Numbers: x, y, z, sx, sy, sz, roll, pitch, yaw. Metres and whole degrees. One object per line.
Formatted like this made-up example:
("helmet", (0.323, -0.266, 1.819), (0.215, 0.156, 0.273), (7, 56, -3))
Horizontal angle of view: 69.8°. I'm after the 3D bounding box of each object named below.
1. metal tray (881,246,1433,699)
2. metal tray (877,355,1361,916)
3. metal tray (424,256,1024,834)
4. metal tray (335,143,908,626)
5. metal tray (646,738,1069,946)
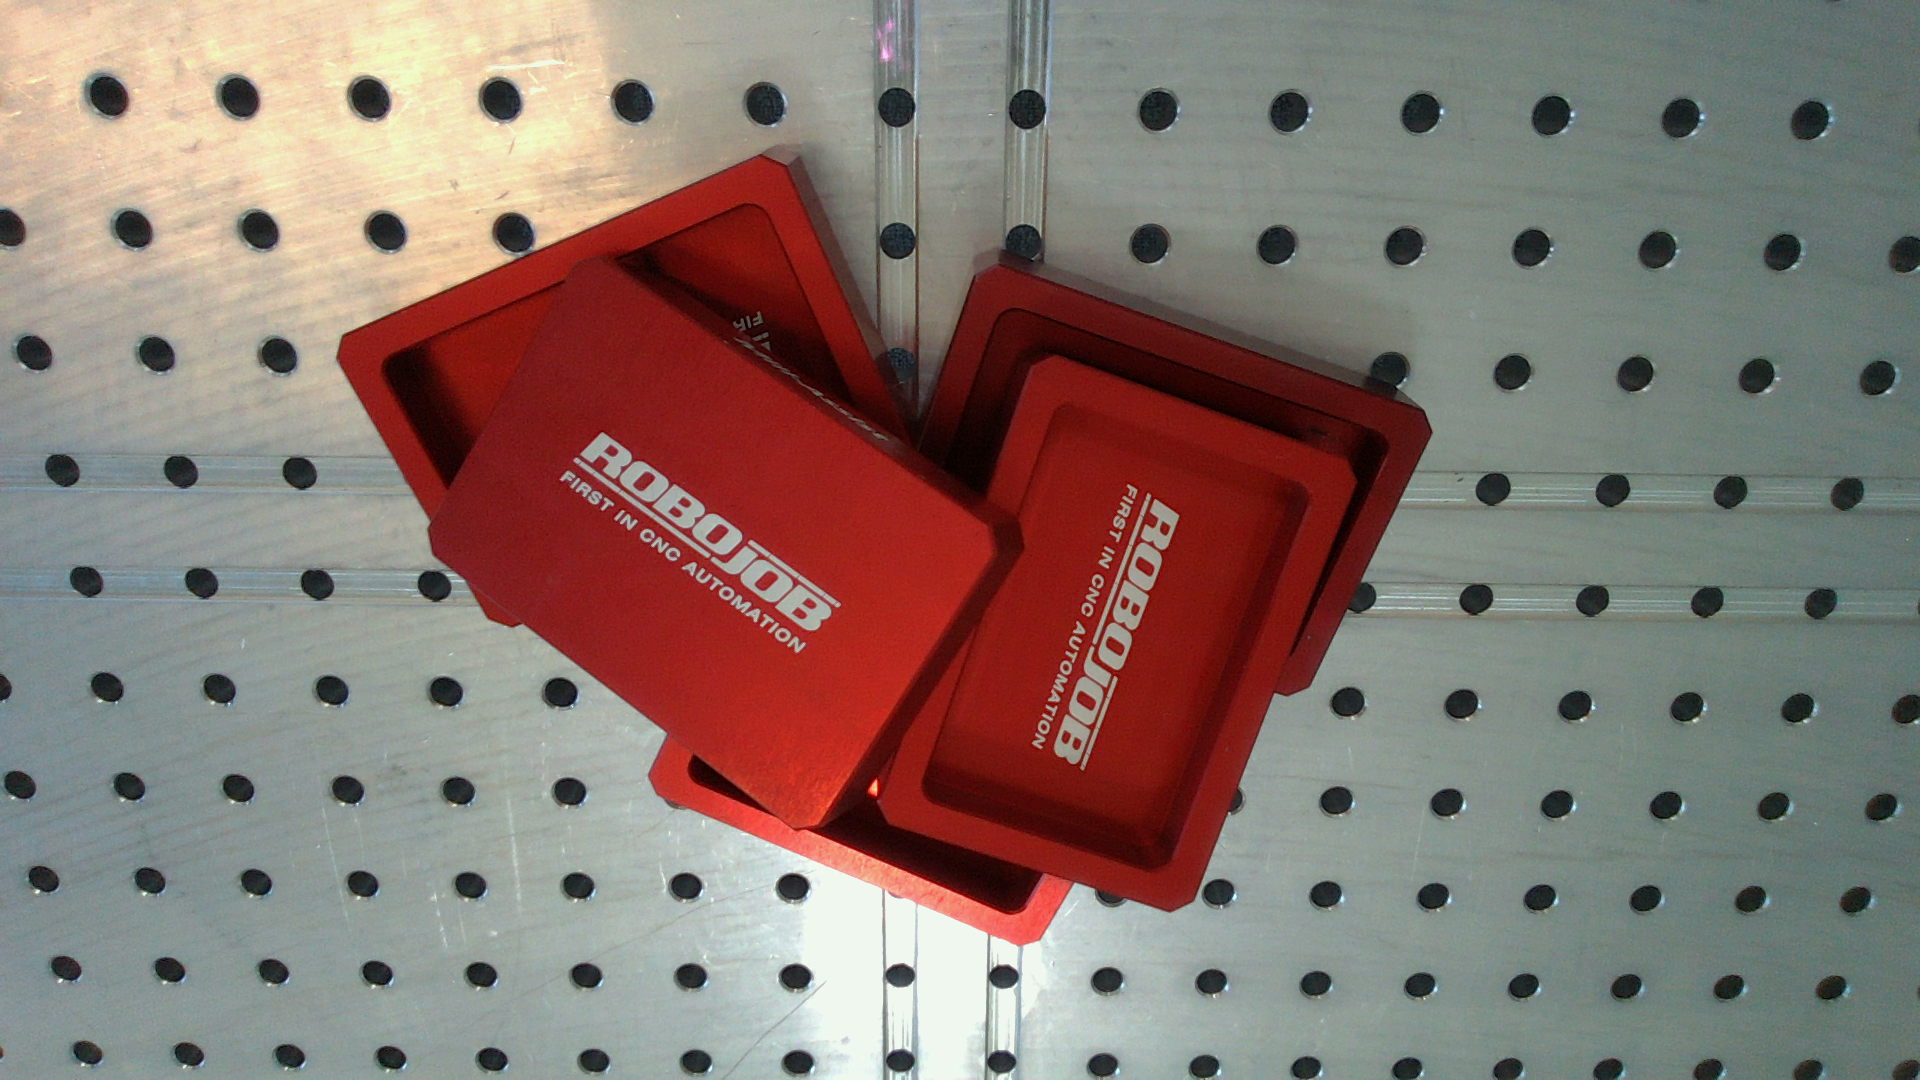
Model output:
("metal tray", (0.052, -0.018, 0.386), (0.130, 0.030, 0.090), (18, 109, -6))
("metal tray", (0.040, 0.025, 0.370), (0.090, 0.030, 0.130), (19, 98, -7))
("metal tray", (-0.061, 0.000, 0.350), (0.130, 0.030, 0.090), (34, 100, 11))
("metal tray", (-0.089, -0.041, 0.378), (0.130, 0.030, 0.090), (-21, 109, 8))
("metal tray", (-0.016, 0.058, 0.415), (0.130, 0.030, 0.090), (25, 108, -9))
